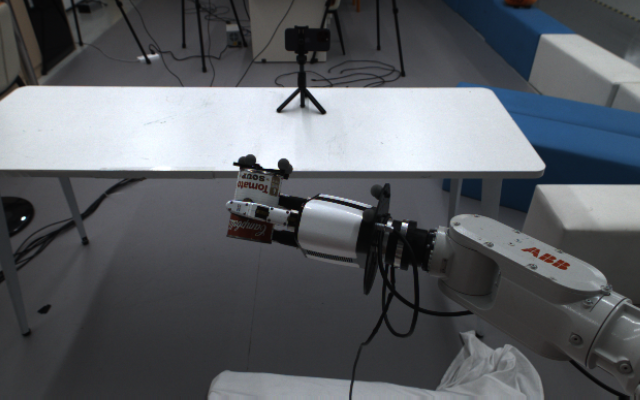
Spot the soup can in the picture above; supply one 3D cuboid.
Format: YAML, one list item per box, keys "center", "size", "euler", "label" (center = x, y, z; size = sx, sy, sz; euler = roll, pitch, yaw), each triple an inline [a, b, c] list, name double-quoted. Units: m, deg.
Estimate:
- center: [-0.096, 0.011, 0.717]
  size: [0.067, 0.101, 0.067]
  euler: [9, -5, 1]
  label: "soup can"
